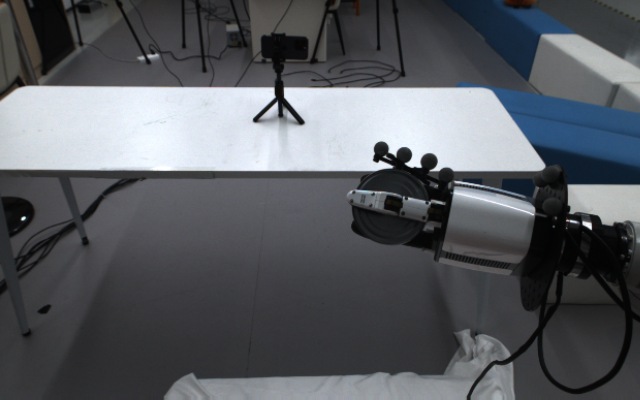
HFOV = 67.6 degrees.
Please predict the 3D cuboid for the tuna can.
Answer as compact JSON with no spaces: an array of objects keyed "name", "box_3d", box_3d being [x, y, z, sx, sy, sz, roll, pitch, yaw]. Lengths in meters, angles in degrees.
[{"name":"tuna can","box_3d":[0.083,0.006,0.550,0.085,0.085,0.034,14,-6,16]}]
